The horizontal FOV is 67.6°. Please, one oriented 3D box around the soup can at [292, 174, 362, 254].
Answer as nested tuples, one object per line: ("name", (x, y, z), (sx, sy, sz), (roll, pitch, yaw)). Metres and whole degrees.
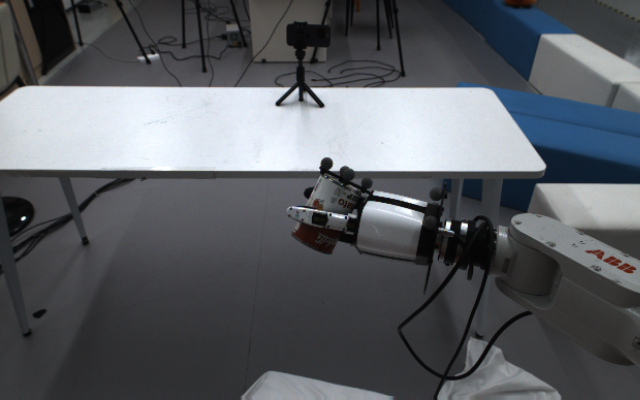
("soup can", (0.011, 0.020, 0.708), (0.067, 0.101, 0.067), (26, 6, -3))
